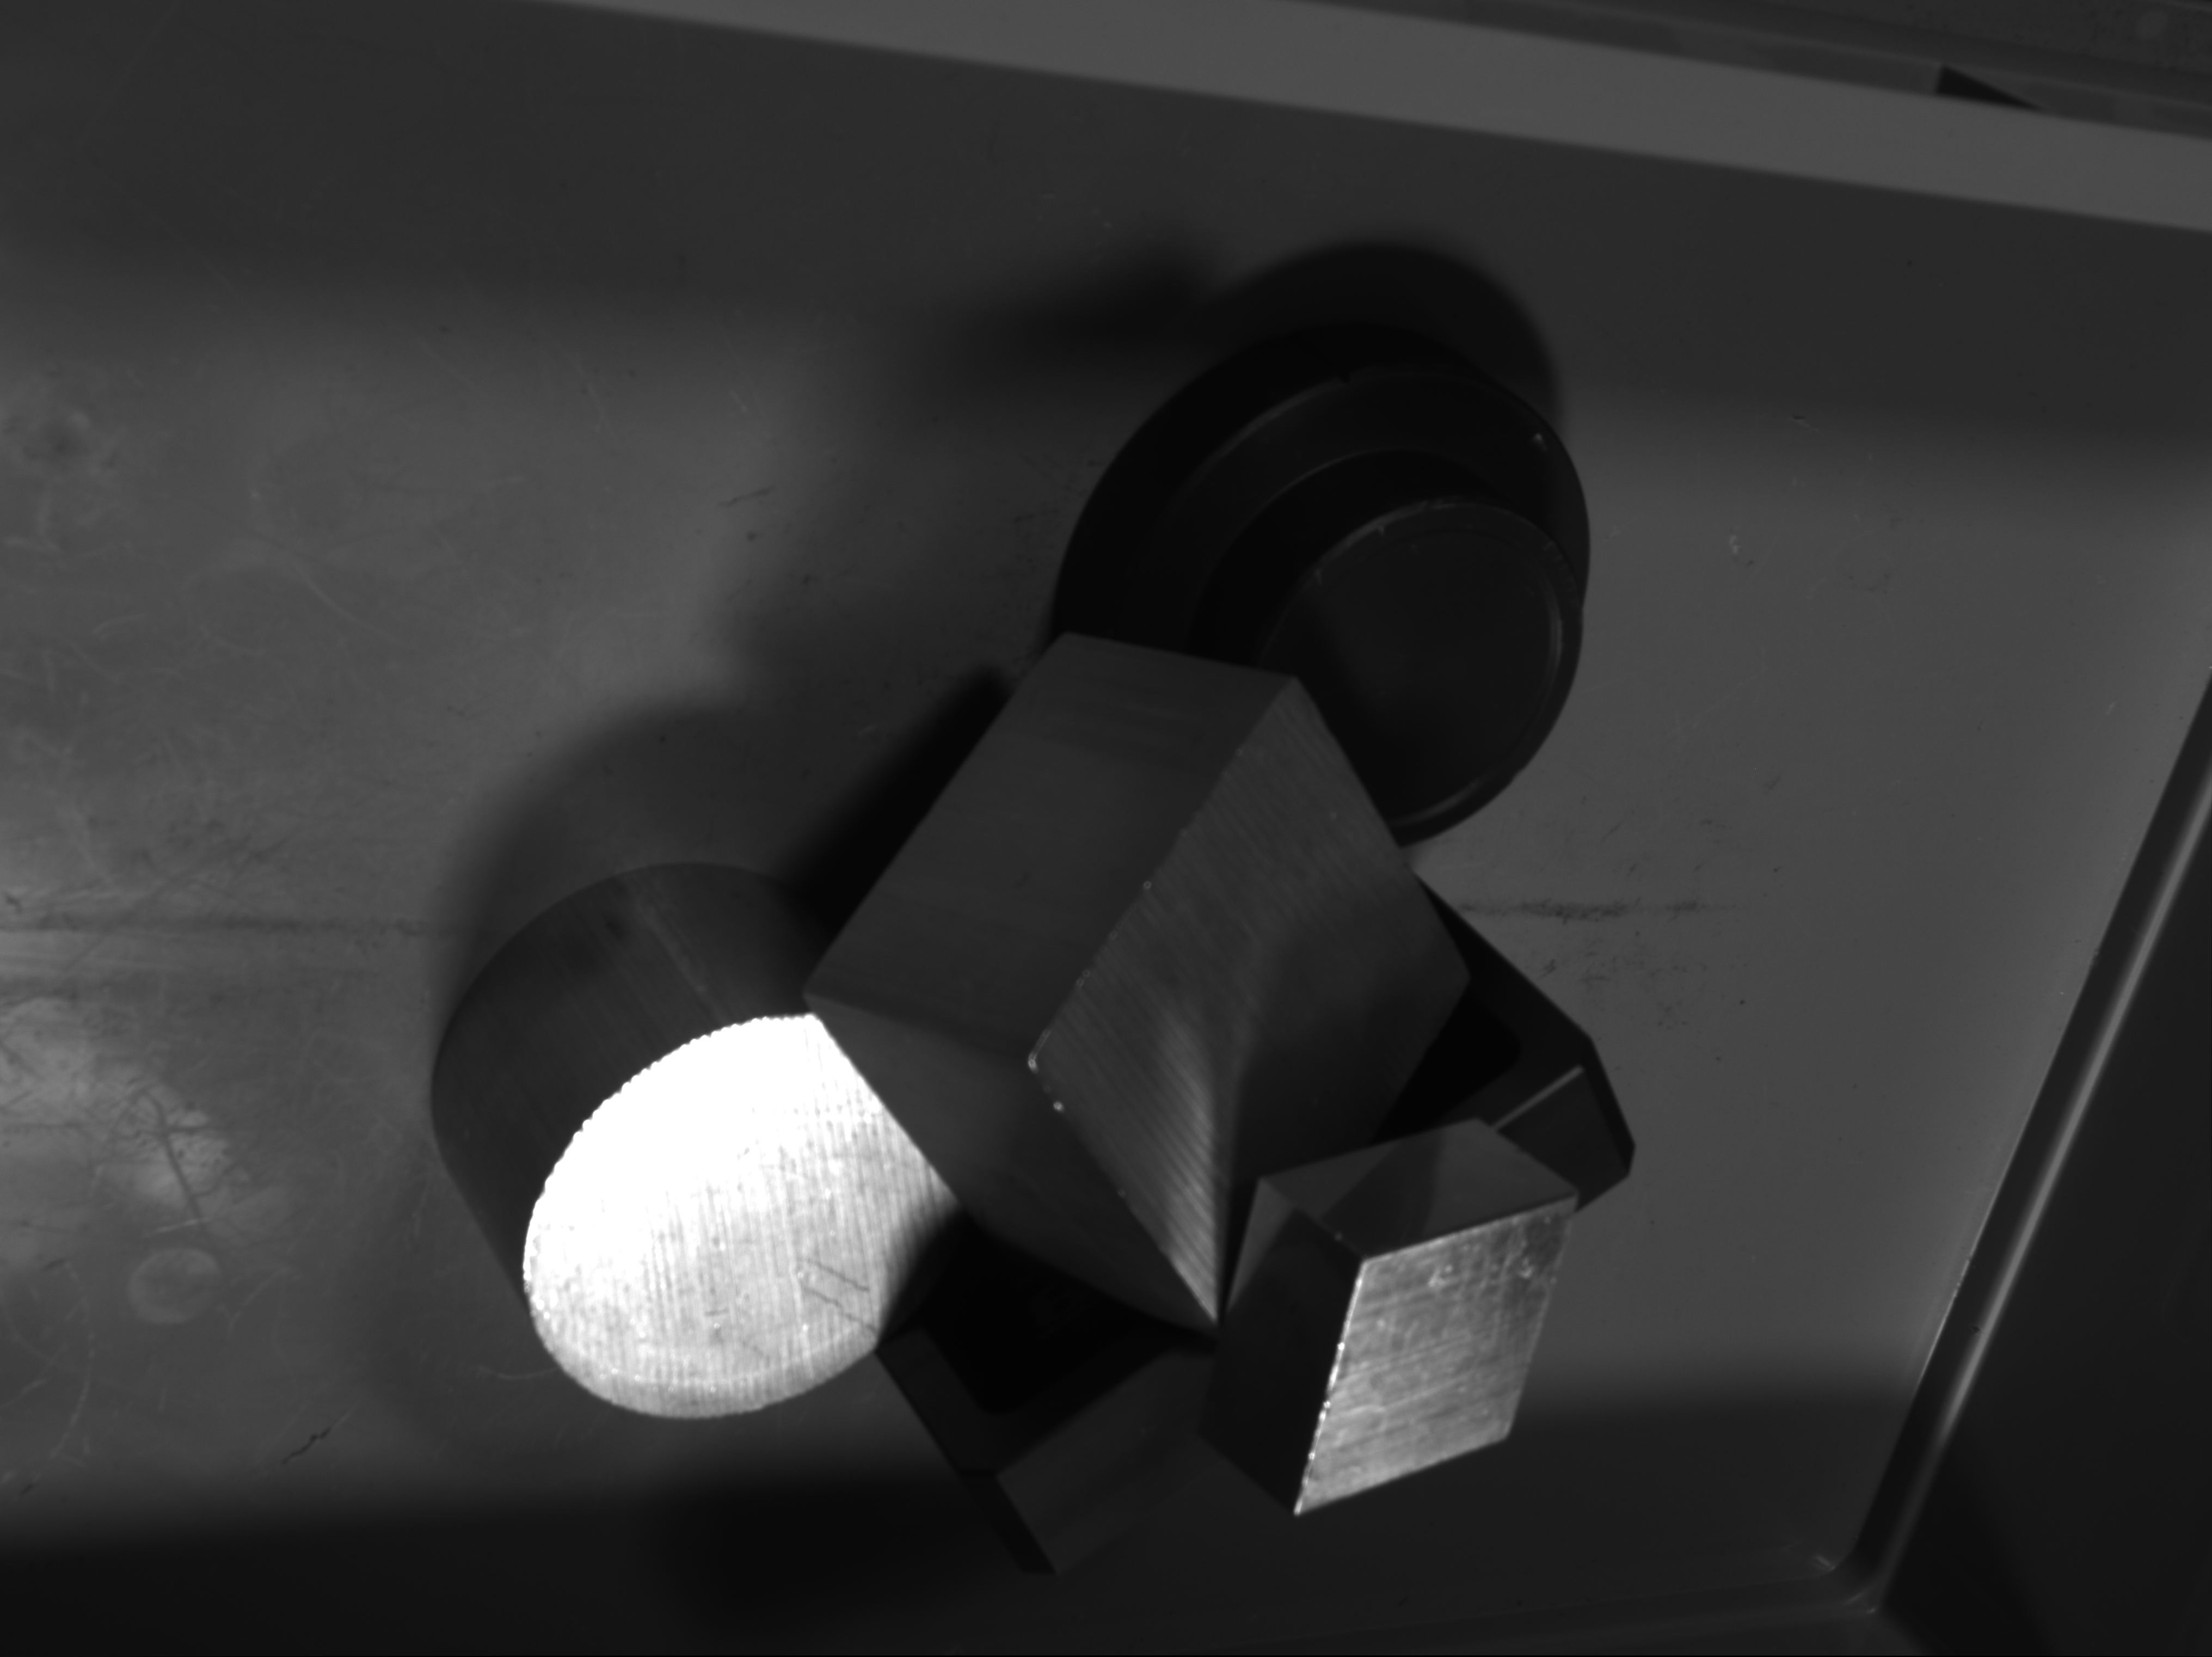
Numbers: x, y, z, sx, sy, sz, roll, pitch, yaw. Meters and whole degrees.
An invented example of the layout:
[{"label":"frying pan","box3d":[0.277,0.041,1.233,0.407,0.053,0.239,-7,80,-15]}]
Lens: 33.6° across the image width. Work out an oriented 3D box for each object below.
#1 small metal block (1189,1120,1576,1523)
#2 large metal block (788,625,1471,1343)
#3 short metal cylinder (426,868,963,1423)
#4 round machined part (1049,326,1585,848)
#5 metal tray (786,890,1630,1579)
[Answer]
[{"label":"small metal block","box3d":[0.045,0.080,0.600,0.050,0.025,0.050,-11,123,-40]},{"label":"large metal block","box3d":[0.006,0.026,0.606,0.080,0.050,0.080,-55,134,-23]},{"label":"short metal cylinder","box3d":[-0.070,0.054,0.625,0.080,0.050,0.080,-15,125,-22]},{"label":"round machined part","box3d":[0.043,-0.035,0.641,0.098,0.042,0.098,-15,125,-22]},{"label":"metal tray","box3d":[0.016,0.064,0.655,0.130,0.090,0.030,-34,129,-9]}]
